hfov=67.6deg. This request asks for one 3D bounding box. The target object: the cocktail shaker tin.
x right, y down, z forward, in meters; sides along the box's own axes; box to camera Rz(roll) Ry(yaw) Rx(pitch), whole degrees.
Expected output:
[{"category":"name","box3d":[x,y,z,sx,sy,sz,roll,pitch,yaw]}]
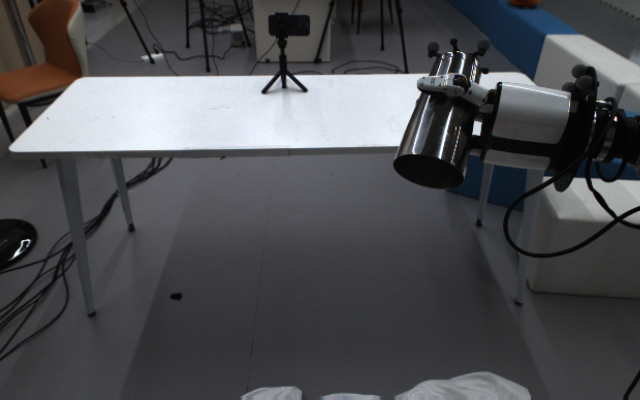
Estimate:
[{"category":"cocktail shaker tin","box3d":[0.165,-0.112,0.648,0.093,0.093,0.170,14,70,16]}]
